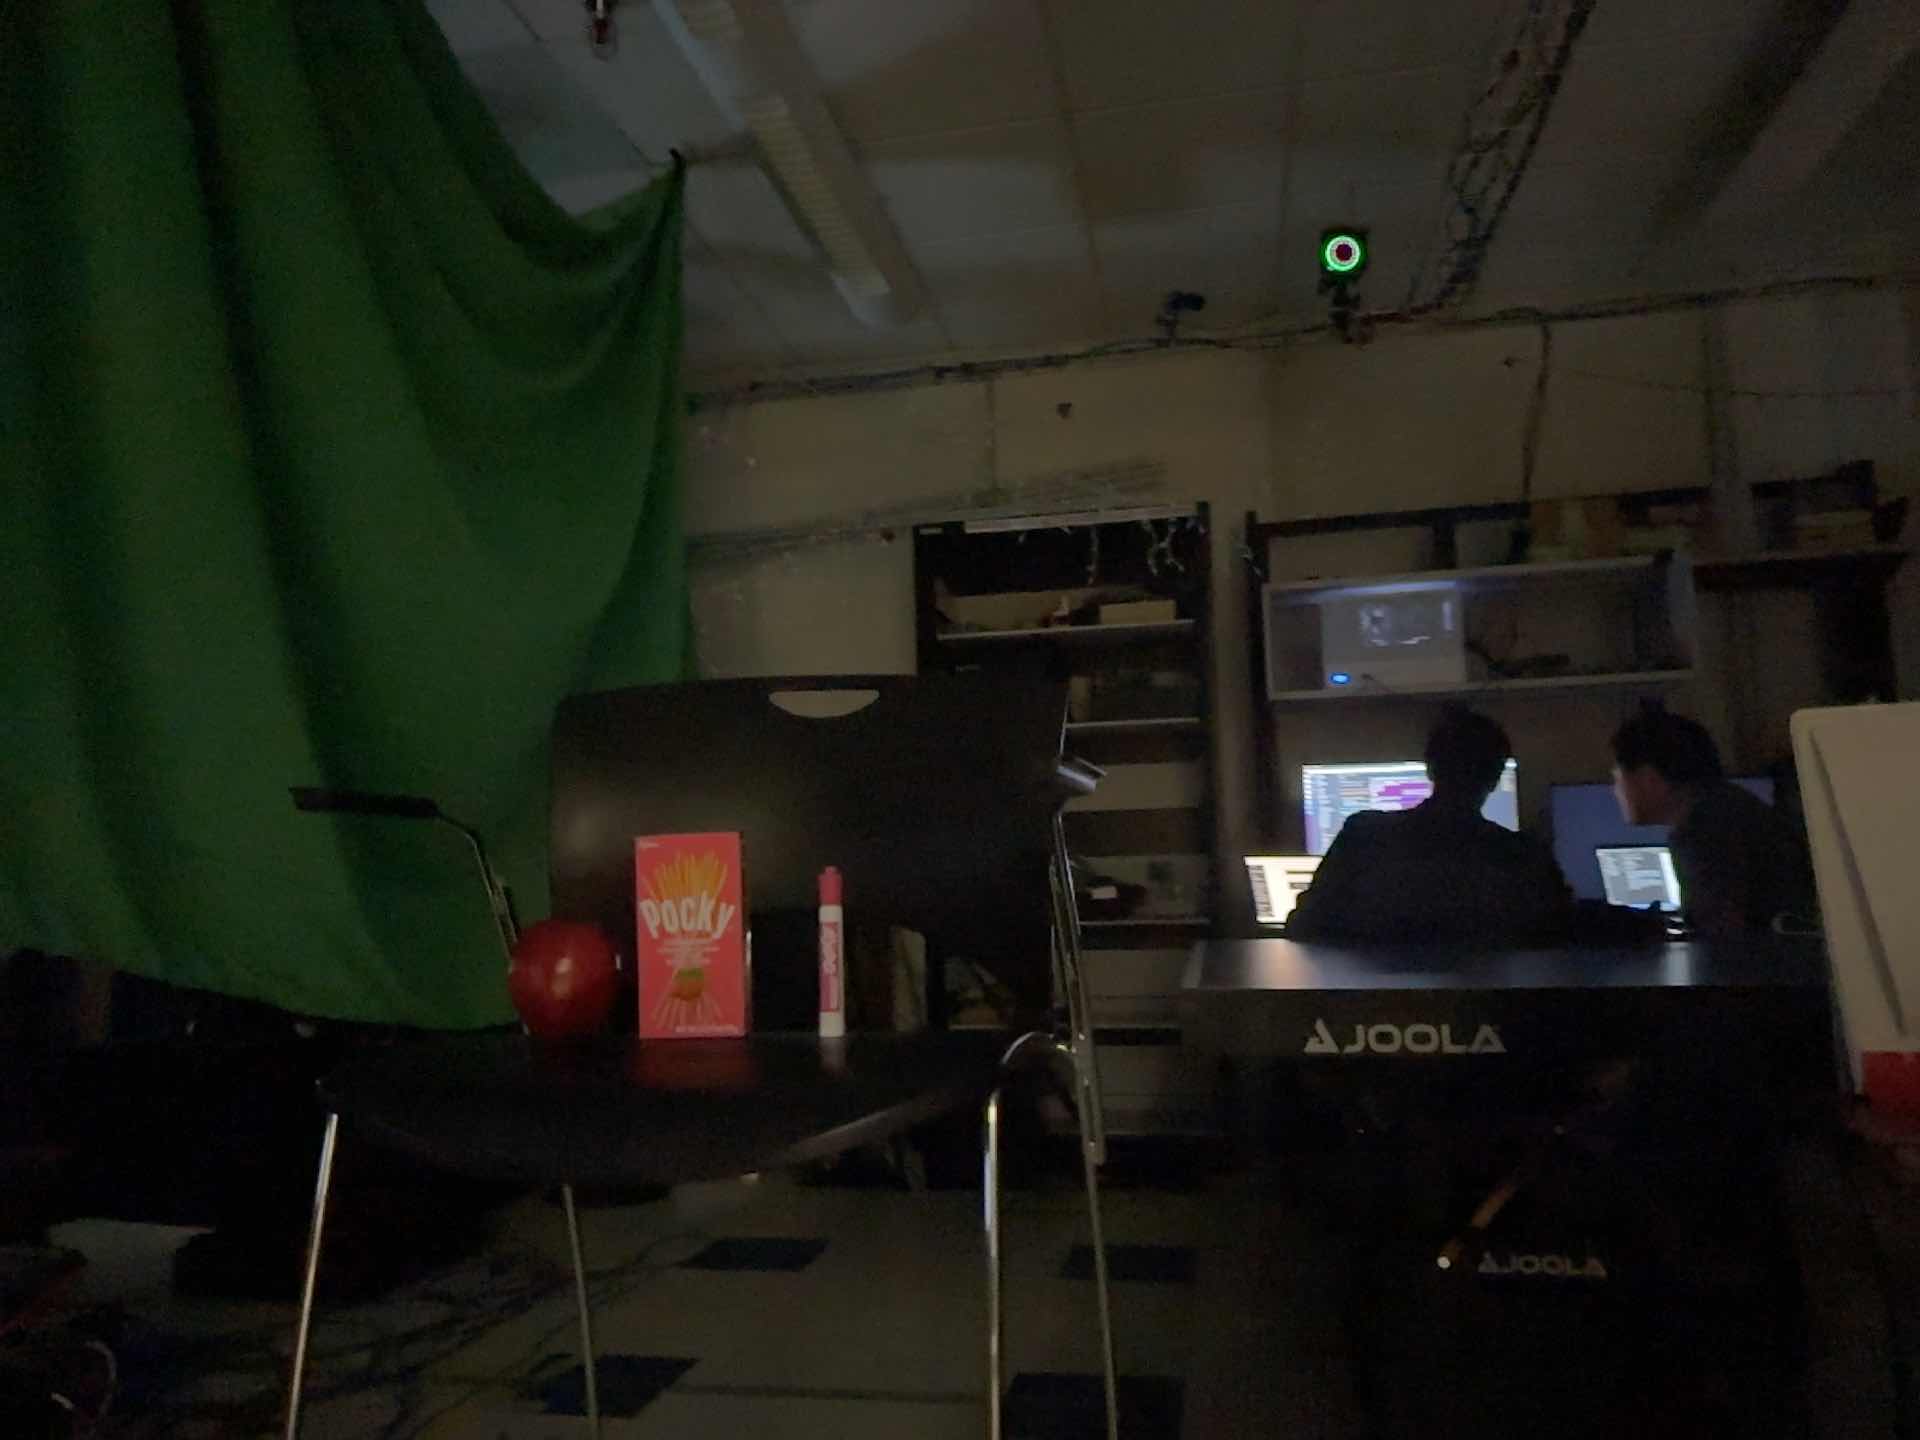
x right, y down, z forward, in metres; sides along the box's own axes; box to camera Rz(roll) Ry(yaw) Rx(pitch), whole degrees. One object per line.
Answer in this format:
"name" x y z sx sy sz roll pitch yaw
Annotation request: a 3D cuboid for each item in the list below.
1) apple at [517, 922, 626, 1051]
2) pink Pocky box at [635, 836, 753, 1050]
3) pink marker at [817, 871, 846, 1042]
"apple" -0.289 0.198 1.003 0.079 0.093 0.079 0 -10 0
"pink Pocky box" -0.197 0.164 0.997 0.084 0.155 0.029 -1 -4 9
"pink marker" -0.094 0.171 0.978 0.020 0.121 0.020 0 -6 0
